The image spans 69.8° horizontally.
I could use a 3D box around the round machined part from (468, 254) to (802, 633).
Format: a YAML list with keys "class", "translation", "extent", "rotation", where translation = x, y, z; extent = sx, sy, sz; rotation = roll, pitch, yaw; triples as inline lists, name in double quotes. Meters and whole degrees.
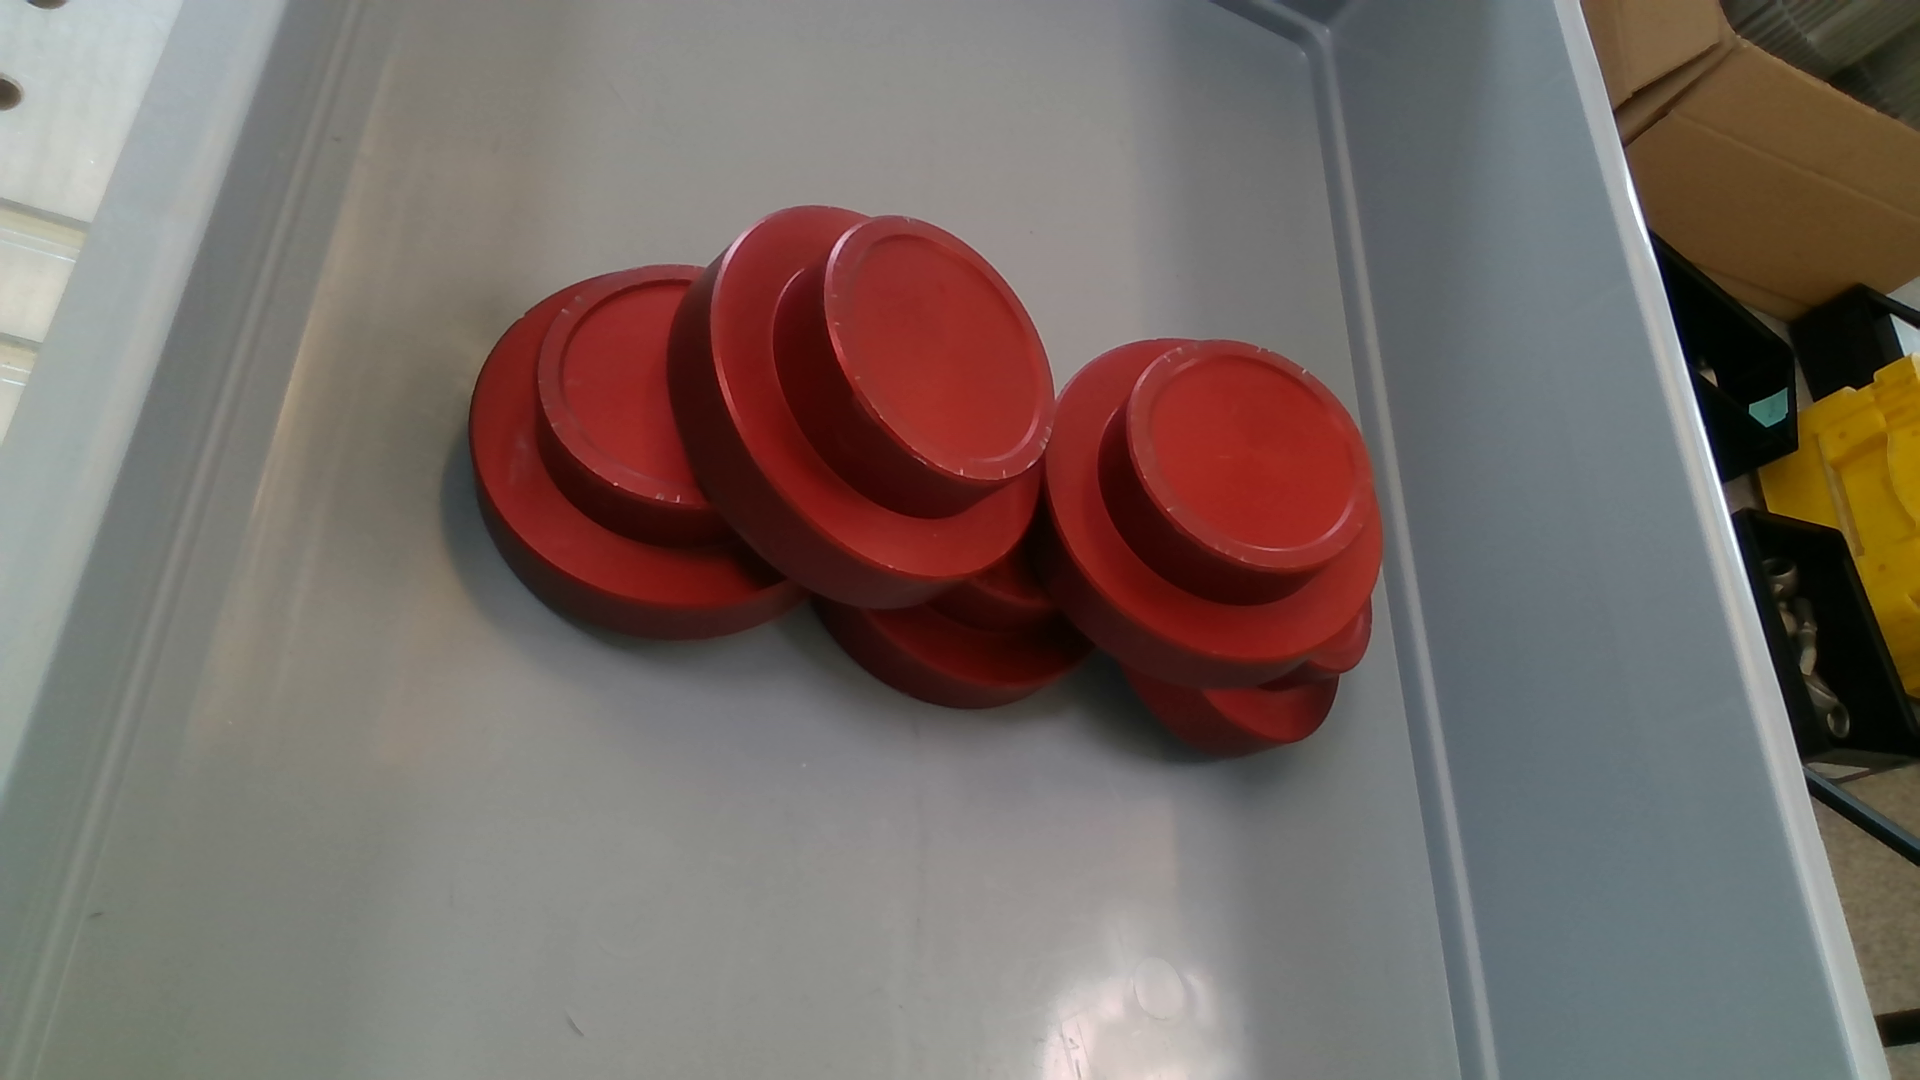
- class: "round machined part"
  translation: [-0.069, -0.030, 0.337]
  extent: [0.098, 0.042, 0.098]
  rotation: [7, 61, -12]

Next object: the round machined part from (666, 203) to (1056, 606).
- class: "round machined part"
  translation: [-0.016, -0.037, 0.325]
  extent: [0.098, 0.042, 0.098]
  rotation: [21, 55, -34]

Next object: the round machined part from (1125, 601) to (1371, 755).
- class: "round machined part"
  translation: [0.087, 0.012, 0.414]
  extent: [0.098, 0.042, 0.098]
  rotation: [25, 53, -38]

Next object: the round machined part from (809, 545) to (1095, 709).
- class: "round machined part"
  translation: [0.006, -0.006, 0.387]
  extent: [0.098, 0.042, 0.098]
  rotation: [15, 58, -26]

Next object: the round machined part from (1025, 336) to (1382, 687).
- class: "round machined part"
  translation: [0.068, -0.014, 0.364]
  extent: [0.098, 0.042, 0.098]
  rotation: [8, 61, -14]
